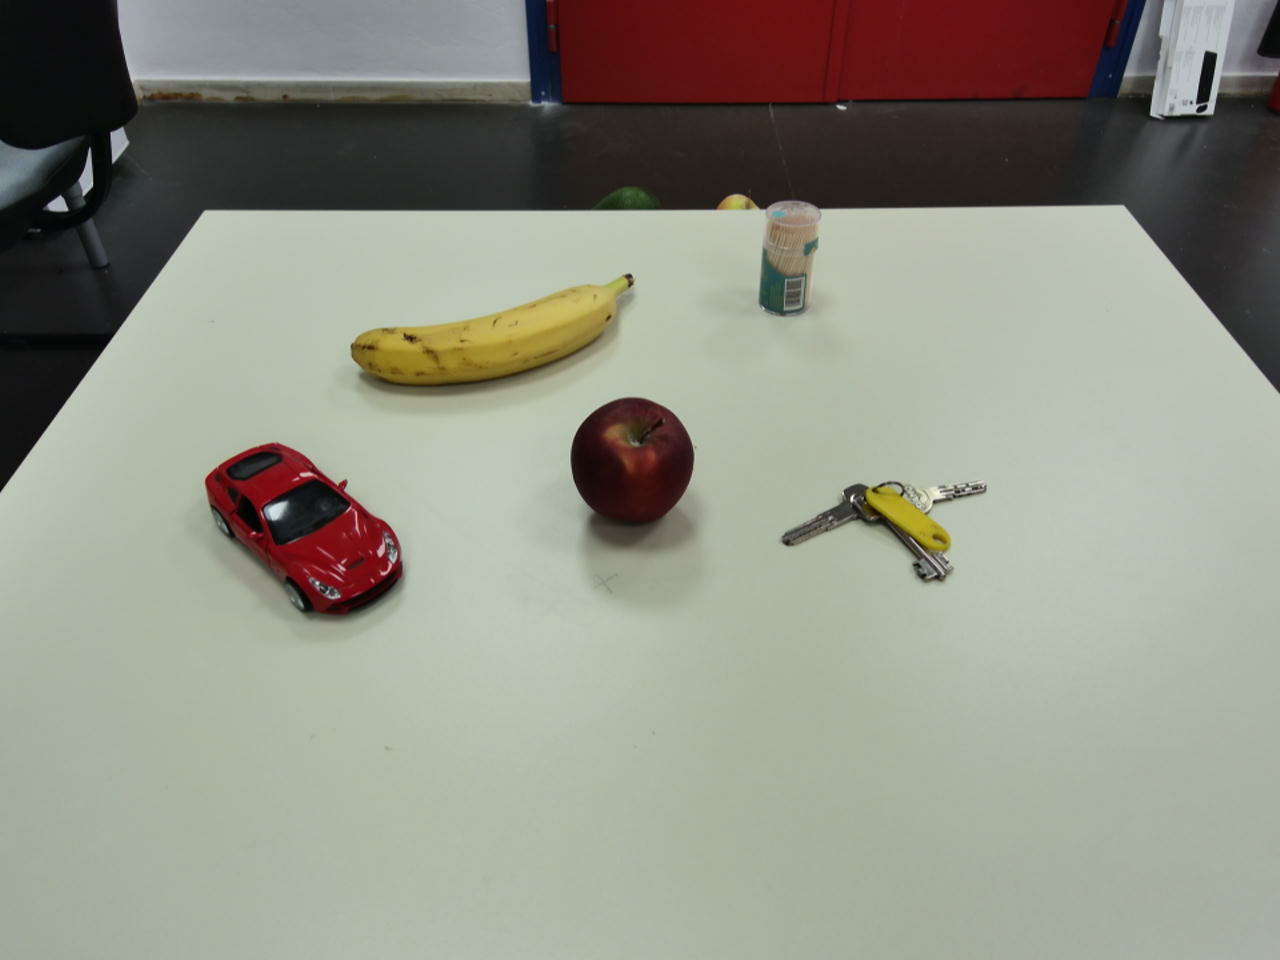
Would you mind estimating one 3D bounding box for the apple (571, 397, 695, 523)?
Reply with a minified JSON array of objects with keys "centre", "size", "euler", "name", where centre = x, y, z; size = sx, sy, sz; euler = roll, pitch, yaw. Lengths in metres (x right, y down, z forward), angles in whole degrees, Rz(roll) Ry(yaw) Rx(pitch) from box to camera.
[{"centre":[-0.004,-0.010,0.558],"size":[0.070,0.072,0.070],"euler":[0,39,0],"name":"apple"}]
